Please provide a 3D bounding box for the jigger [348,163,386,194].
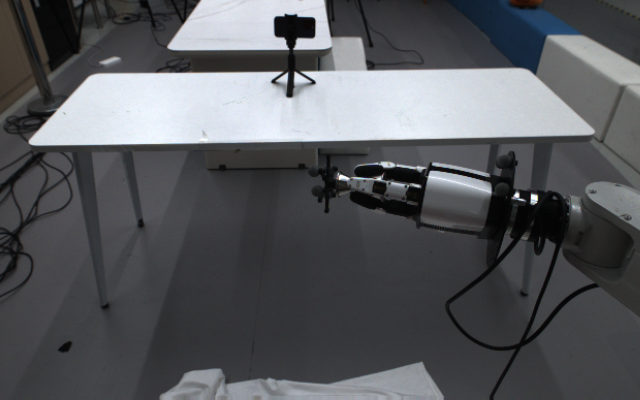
[{"bbox_3d":[0.068,-0.026,0.705,0.071,0.043,0.043,3,34,17],"label":"jigger"}]
